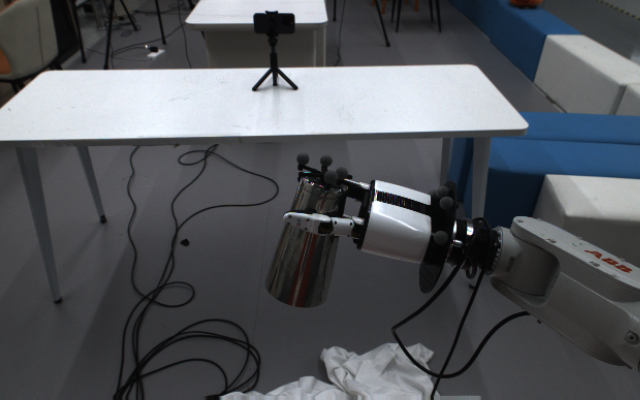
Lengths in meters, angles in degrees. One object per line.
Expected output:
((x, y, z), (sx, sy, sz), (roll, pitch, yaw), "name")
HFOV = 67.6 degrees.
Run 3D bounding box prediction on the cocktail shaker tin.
((-0.012, 0.050, 0.679), (0.093, 0.170, 0.093), (13, 19, -5), "cocktail shaker tin")
